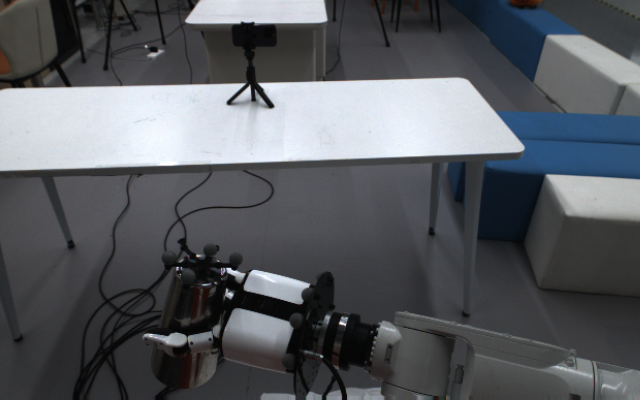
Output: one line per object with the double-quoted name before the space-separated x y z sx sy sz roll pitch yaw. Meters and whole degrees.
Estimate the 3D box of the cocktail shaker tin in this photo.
"cocktail shaker tin" -0.168 0.158 0.644 0.093 0.170 0.093 12 29 -7
